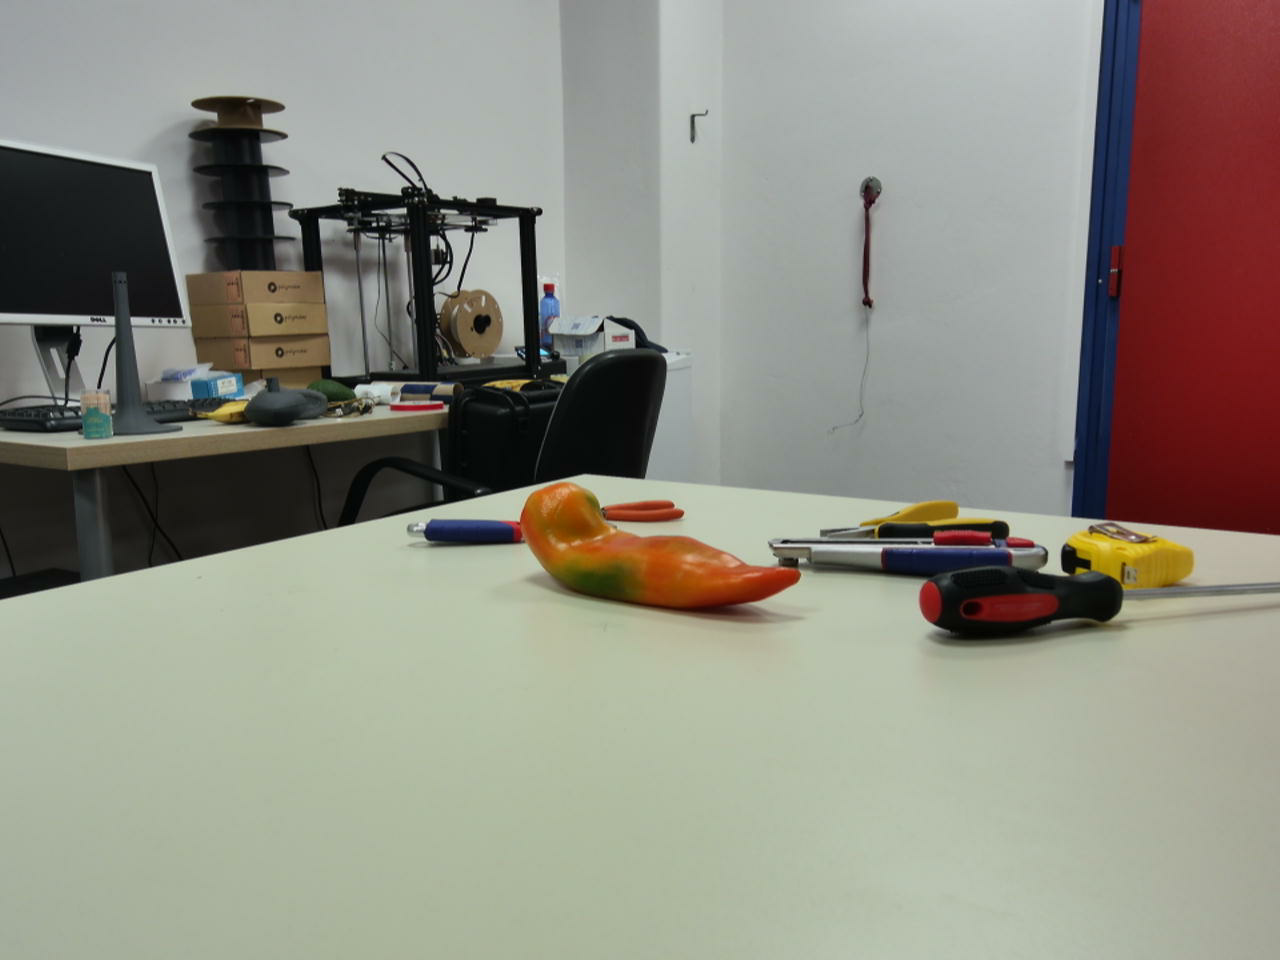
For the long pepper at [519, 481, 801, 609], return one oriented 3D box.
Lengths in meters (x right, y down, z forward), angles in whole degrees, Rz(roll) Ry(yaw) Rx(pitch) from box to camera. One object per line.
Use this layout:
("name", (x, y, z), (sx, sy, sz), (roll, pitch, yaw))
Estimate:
("long pepper", (0.005, 0.040, 0.611), (0.199, 0.065, 0.066), (7, 9, 40))
